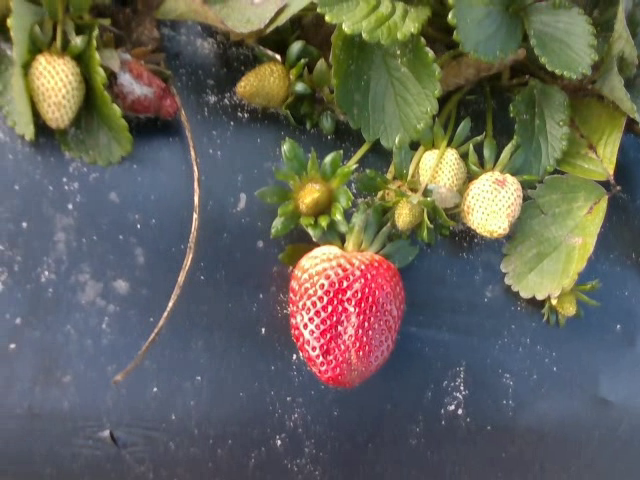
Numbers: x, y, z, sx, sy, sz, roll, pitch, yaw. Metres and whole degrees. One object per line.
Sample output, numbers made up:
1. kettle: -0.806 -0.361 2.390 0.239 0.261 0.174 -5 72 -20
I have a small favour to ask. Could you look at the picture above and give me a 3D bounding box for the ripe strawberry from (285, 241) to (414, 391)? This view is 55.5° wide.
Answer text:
1. ripe strawberry: 0.010 0.032 0.257 0.052 0.068 0.045 14 -40 -12
